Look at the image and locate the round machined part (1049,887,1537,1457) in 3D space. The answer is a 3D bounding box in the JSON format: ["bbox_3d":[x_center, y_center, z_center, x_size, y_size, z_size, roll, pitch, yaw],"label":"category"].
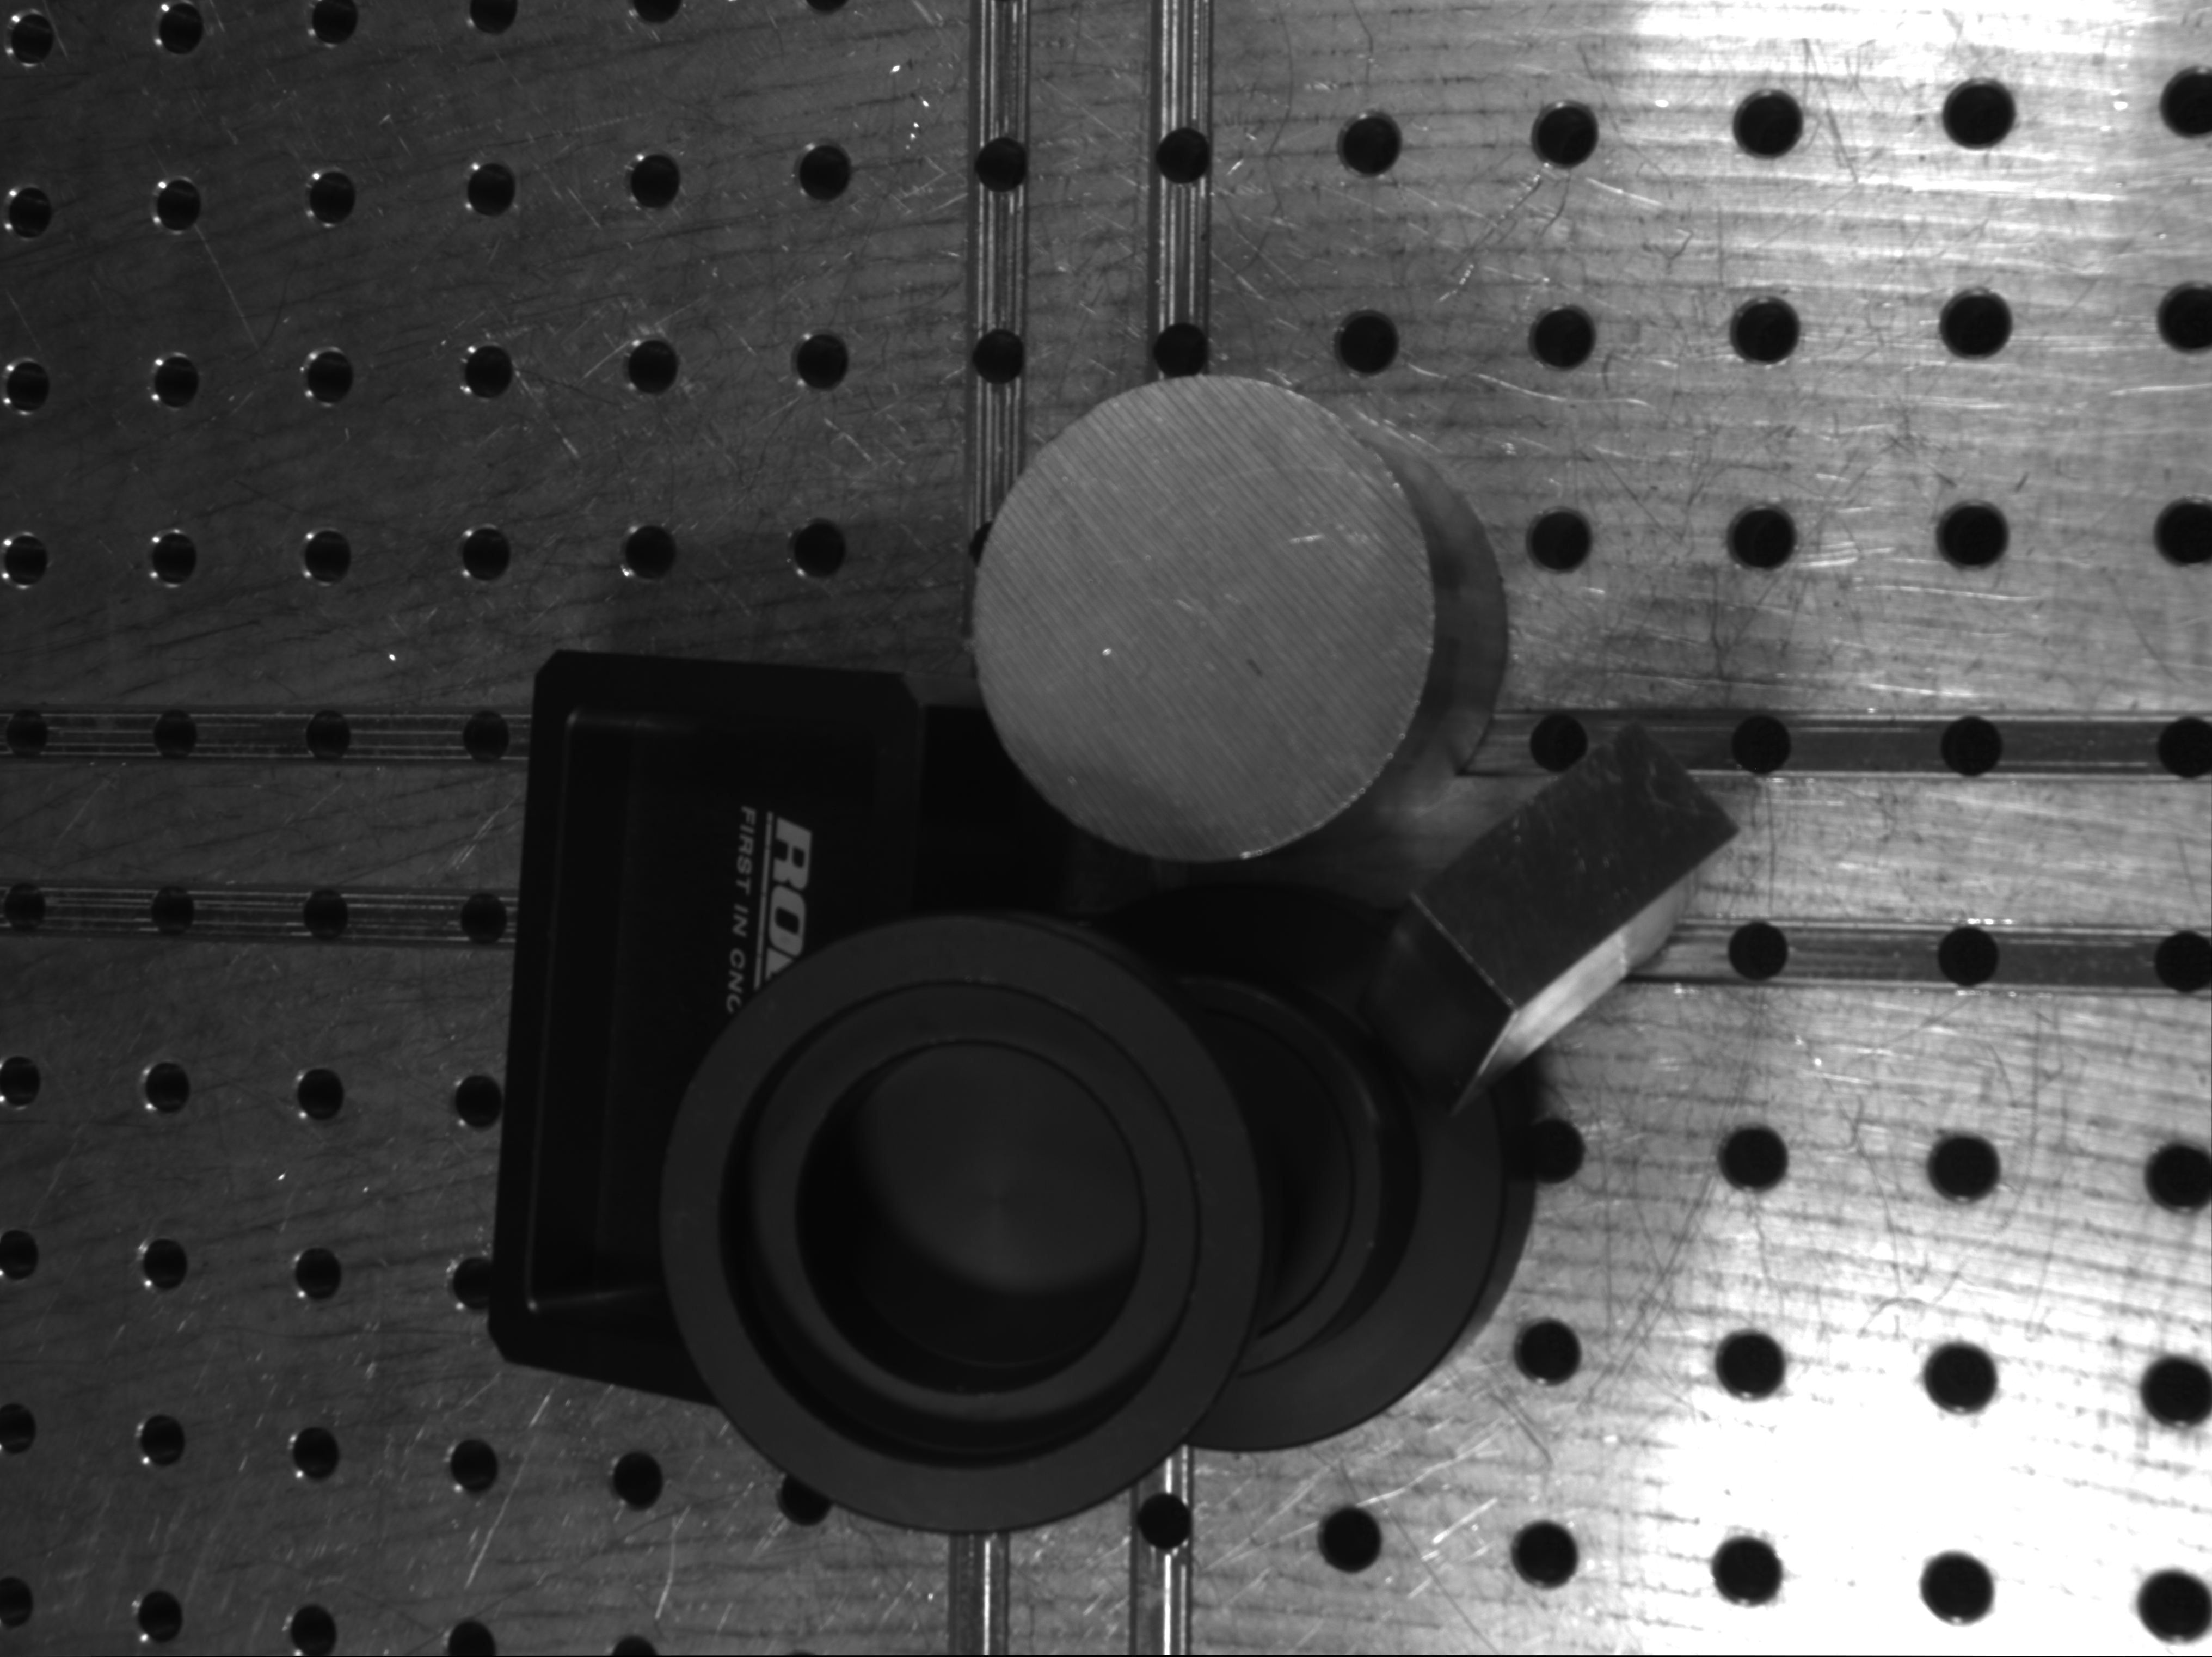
[{"bbox_3d":[0.022,0.059,0.629,0.098,0.042,0.098,0,90,20],"label":"round machined part"}]

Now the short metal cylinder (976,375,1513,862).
[{"bbox_3d":[0.024,-0.034,0.625,0.080,0.050,0.080,0,90,20],"label":"short metal cylinder"}]

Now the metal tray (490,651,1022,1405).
[{"bbox_3d":[-0.063,0.036,0.655,0.090,0.030,0.130,5,92,34],"label":"metal tray"}]

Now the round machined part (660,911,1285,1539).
[{"bbox_3d":[-0.019,0.062,0.594,0.098,0.042,0.098,0,92,9],"label":"round machined part"}]

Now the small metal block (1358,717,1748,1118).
[{"bbox_3d":[0.072,0.015,0.598,0.050,0.050,0.025,-37,75,-20],"label":"small metal block"}]
